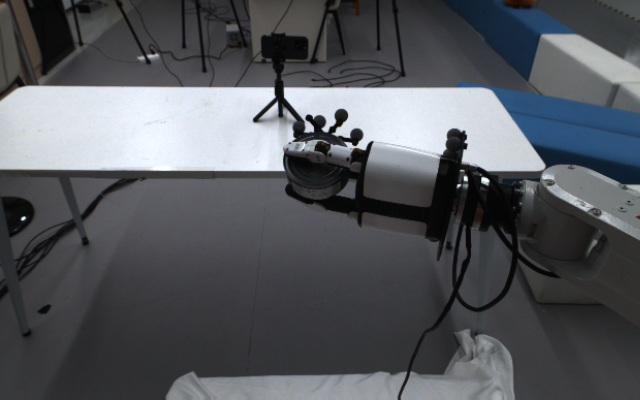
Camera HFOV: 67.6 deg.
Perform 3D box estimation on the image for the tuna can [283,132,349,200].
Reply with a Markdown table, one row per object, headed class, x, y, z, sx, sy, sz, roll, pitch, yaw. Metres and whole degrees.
| class | x | y | z | sx | sy | sz | roll | pitch | yaw |
| --- | --- | --- | --- | --- | --- | --- | --- | --- | --- |
| tuna can | -0.003 | -0.047 | 0.621 | 0.085 | 0.034 | 0.085 | -2 | 56 | 4 |
